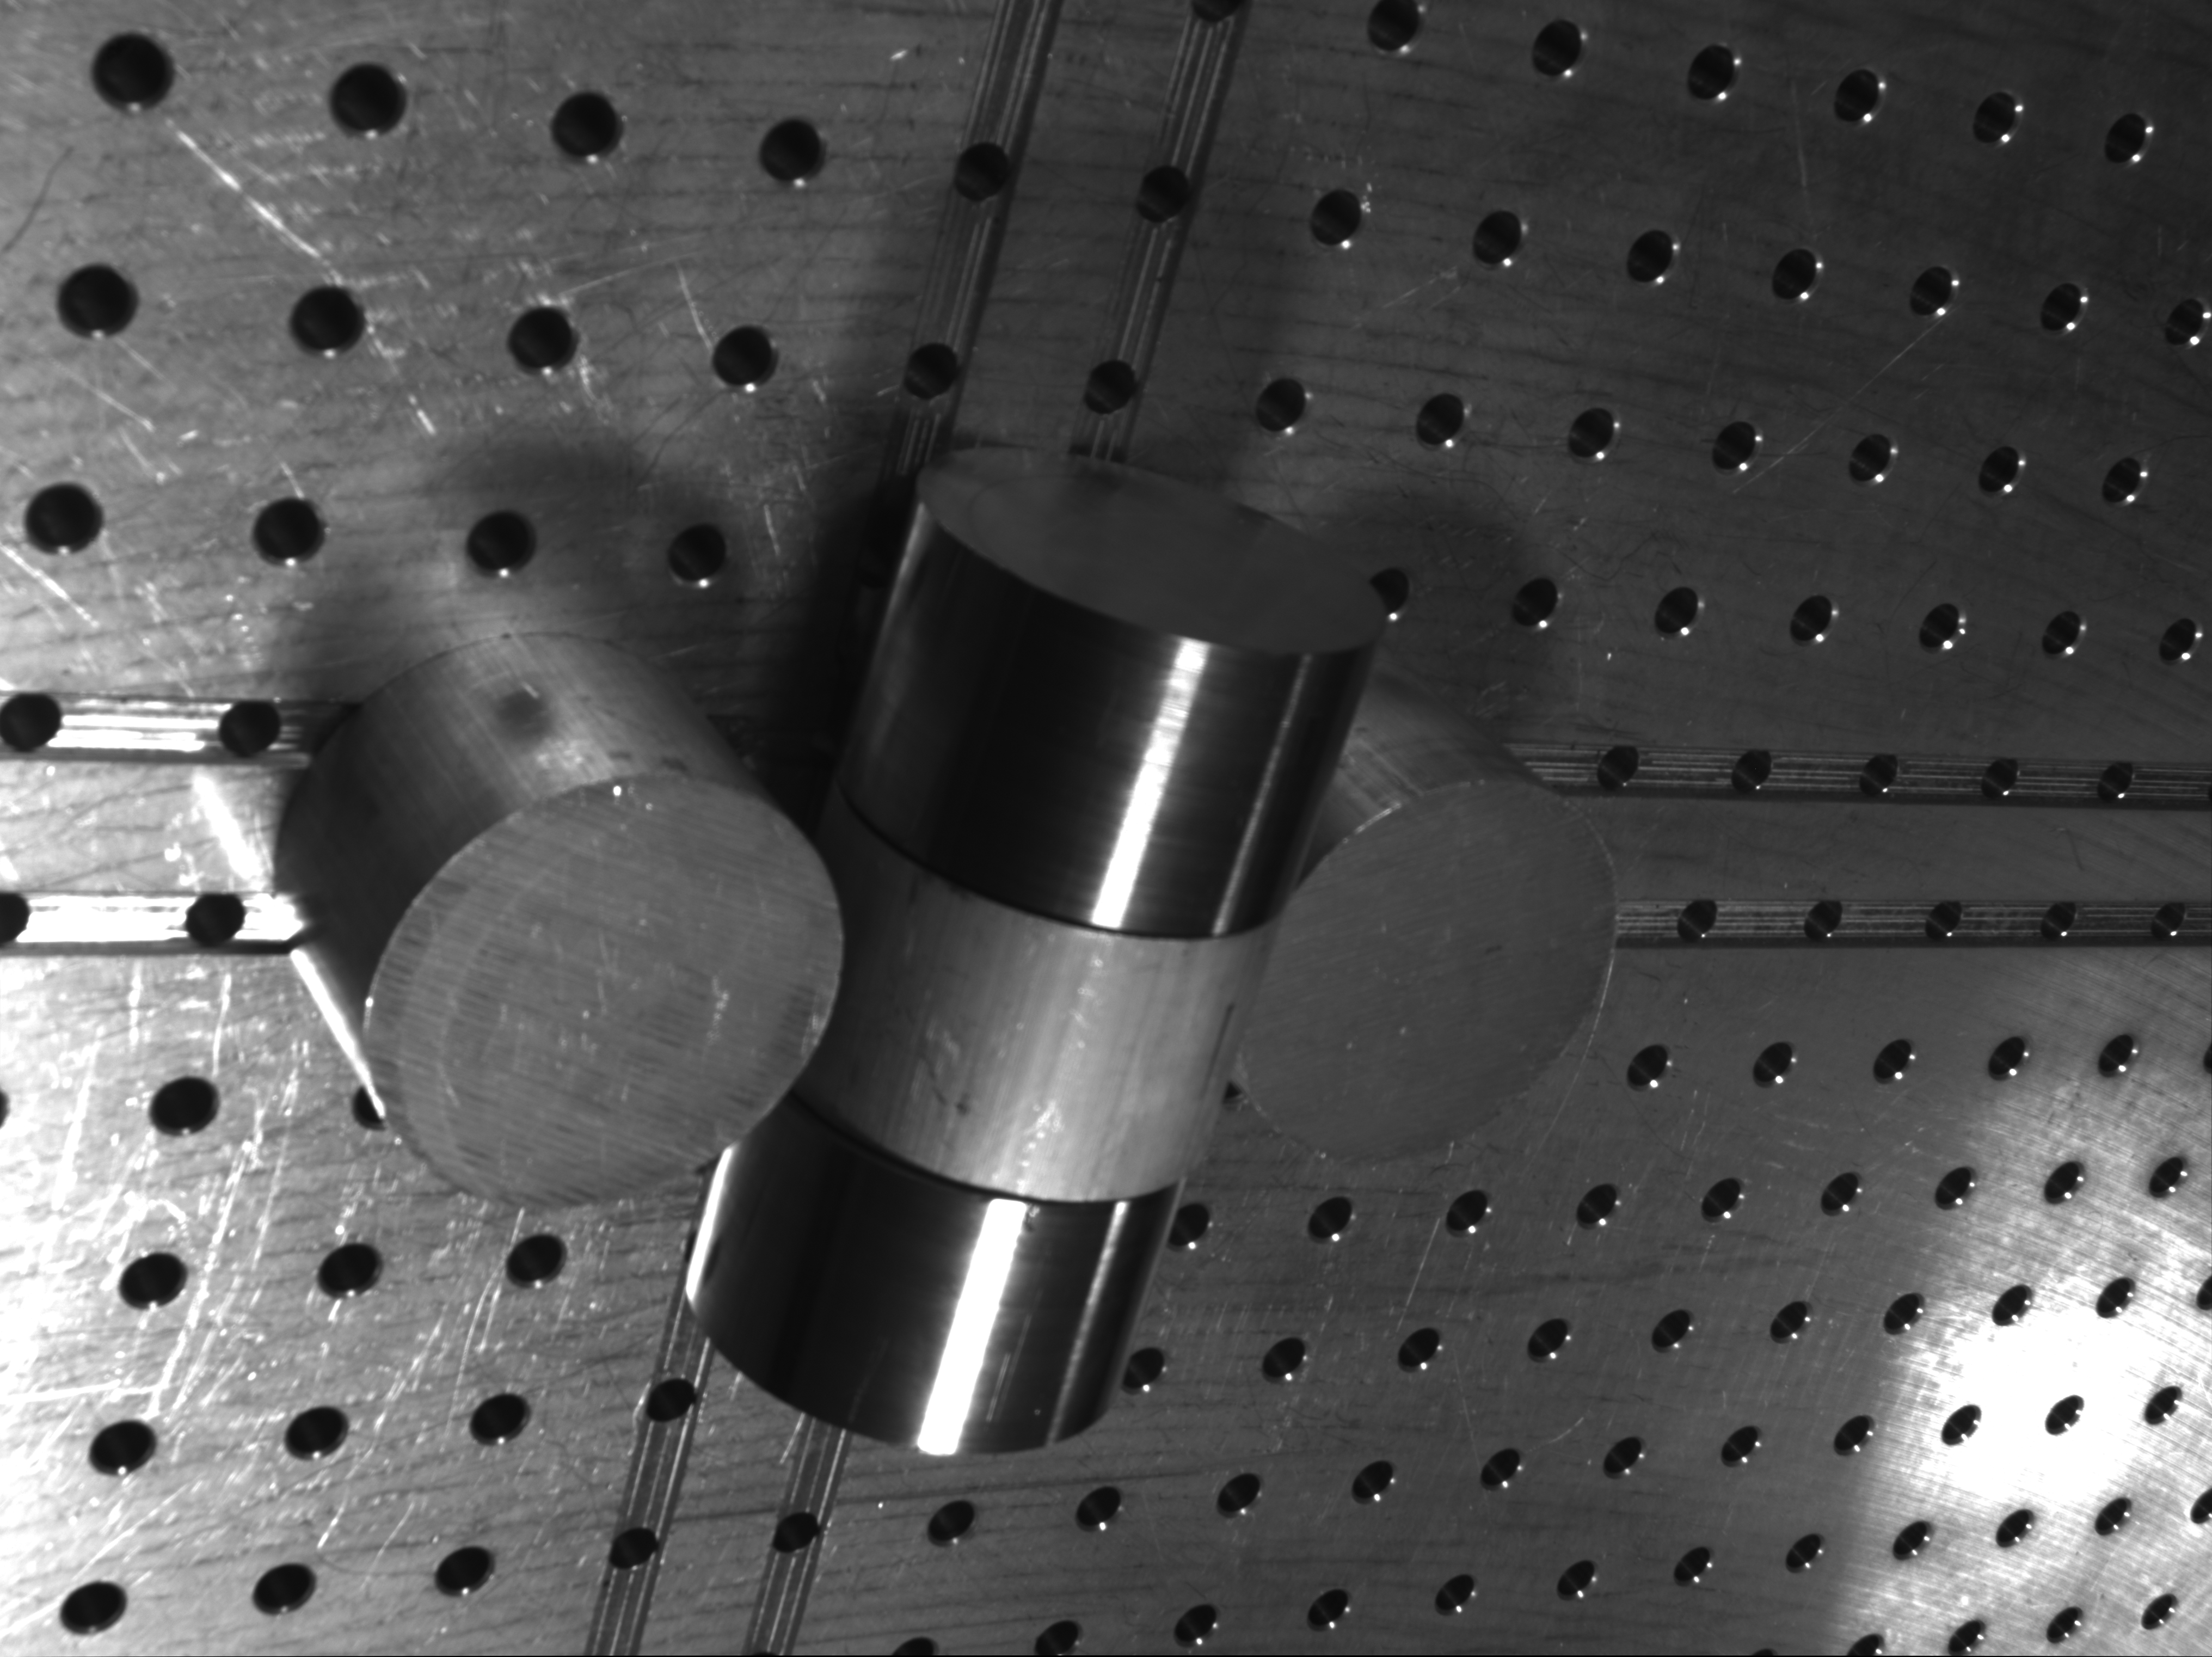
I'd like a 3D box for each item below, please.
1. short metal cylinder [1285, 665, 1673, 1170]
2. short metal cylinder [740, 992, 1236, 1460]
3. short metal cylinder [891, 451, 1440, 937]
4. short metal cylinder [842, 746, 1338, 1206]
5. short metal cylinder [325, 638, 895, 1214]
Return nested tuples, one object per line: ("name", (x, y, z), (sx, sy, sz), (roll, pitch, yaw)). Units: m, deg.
("short metal cylinder", (0.058, 0.016, 0.680), (0.080, 0.050, 0.080), (-15, 125, -22))
("short metal cylinder", (-0.020, 0.067, 0.647), (0.080, 0.080, 0.050), (1, 117, -31))
("short metal cylinder", (0.009, -0.024, 0.608), (0.080, 0.080, 0.050), (3, 117, -31))
("short metal cylinder", (-0.005, 0.022, 0.628), (0.080, 0.080, 0.050), (2, 117, -31))
("short metal cylinder", (-0.081, 0.016, 0.599), (0.080, 0.050, 0.080), (-15, 125, -22))
